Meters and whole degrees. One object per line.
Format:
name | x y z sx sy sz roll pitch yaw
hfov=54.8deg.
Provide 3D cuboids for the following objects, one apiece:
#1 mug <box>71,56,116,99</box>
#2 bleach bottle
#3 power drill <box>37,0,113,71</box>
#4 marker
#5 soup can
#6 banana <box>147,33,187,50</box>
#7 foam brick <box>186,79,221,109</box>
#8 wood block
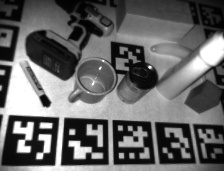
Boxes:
mug | -0.049 -0.012 0.501 0.093 0.081 0.118 44 65 2
bleach bottle | 0.196 -0.063 0.508 0.068 0.250 0.103 30 61 -1
power drill | -0.106 -0.143 0.558 0.185 0.057 0.187 32 61 -6
marker | -0.169 -0.003 0.497 0.020 0.019 0.120 -28 79 -23
soup can | 0.059 -0.016 0.520 0.068 0.102 0.067 8 61 -15
banana | 0.198 -0.116 0.647 0.198 0.038 0.074 19 77 -12
foam brick | 0.251 0.019 0.590 0.053 0.078 0.051 34 60 2
wood block | 0.122 -0.211 0.639 0.208 0.090 0.089 3 68 -17
